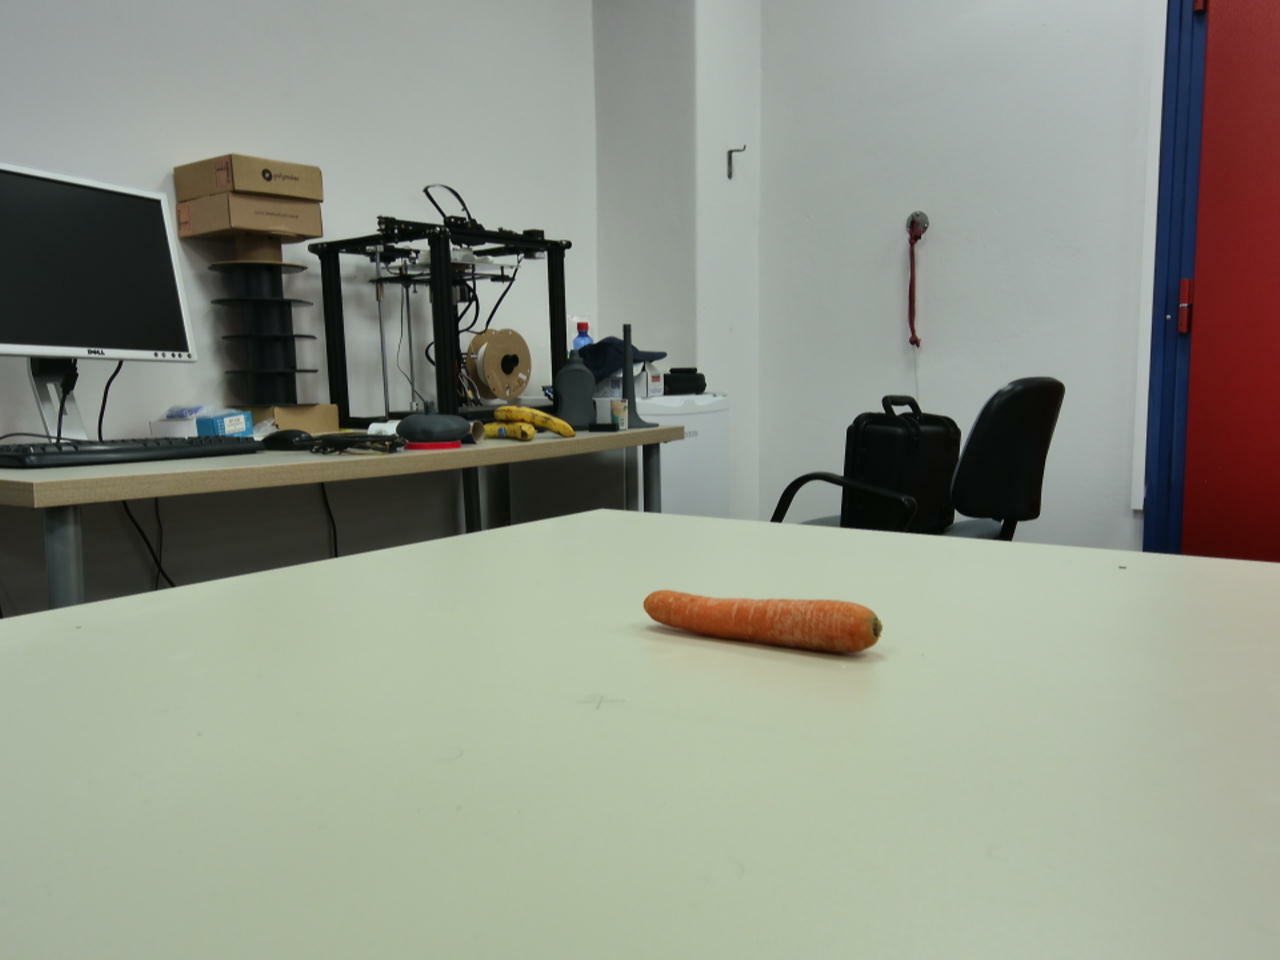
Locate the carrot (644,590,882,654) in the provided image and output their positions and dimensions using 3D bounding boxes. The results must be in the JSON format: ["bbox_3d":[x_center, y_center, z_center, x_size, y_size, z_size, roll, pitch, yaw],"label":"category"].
[{"bbox_3d":[0.054,0.065,0.475,0.122,0.023,0.024,3,4,34],"label":"carrot"}]
